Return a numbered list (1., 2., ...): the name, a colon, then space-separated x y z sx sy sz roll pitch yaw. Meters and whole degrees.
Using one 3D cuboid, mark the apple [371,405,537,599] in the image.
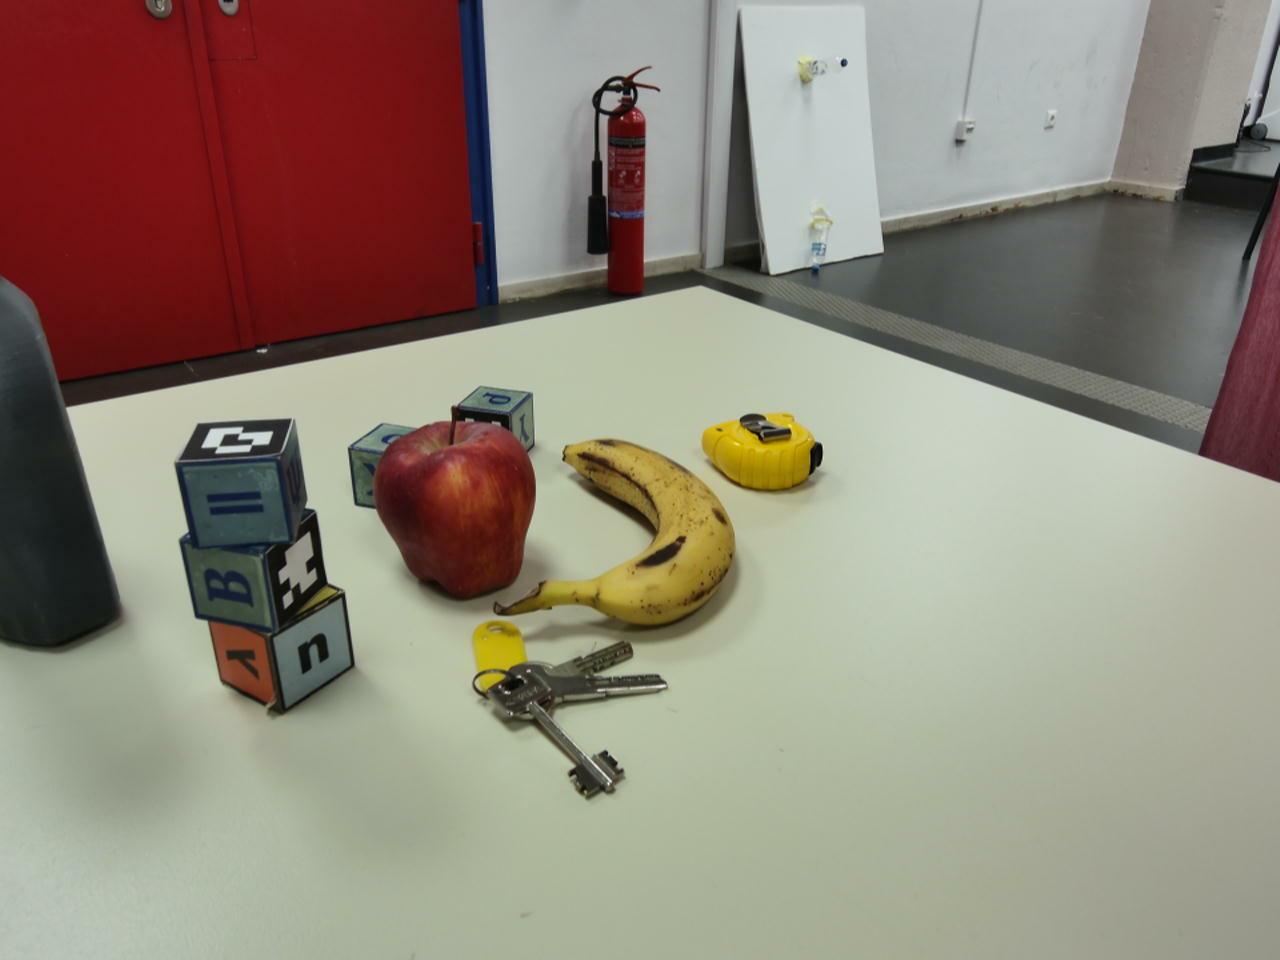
1. apple: -0.091 0.008 0.489 0.083 0.090 0.083 0 25 0
